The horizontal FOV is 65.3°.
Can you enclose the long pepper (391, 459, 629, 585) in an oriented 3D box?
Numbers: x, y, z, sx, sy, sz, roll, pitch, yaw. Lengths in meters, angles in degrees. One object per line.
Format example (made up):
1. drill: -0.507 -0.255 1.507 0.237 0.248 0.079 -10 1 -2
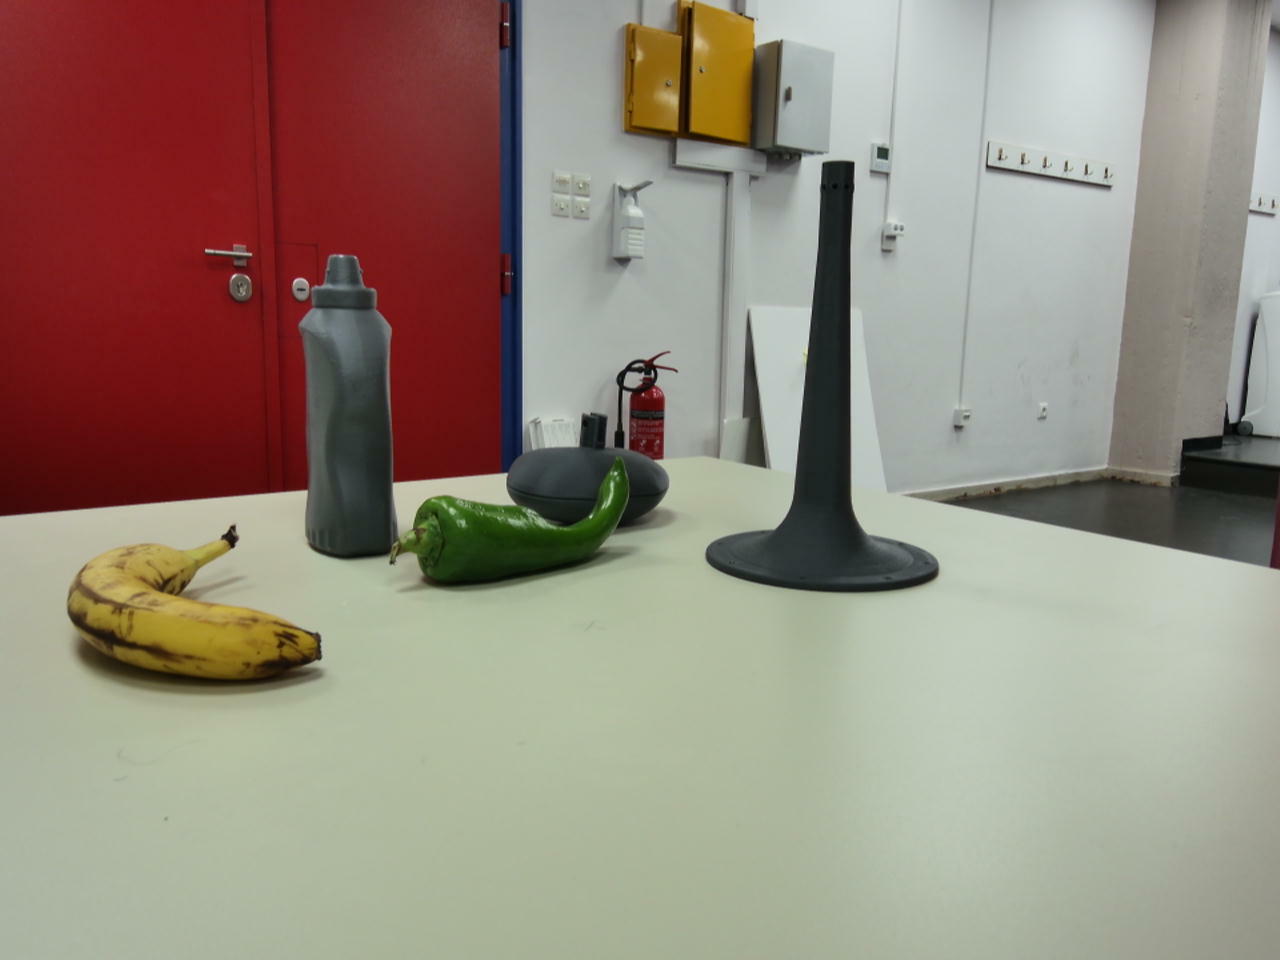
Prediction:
1. long pepper: -0.072 0.025 0.615 0.175 0.065 0.058 -6 9 -38
